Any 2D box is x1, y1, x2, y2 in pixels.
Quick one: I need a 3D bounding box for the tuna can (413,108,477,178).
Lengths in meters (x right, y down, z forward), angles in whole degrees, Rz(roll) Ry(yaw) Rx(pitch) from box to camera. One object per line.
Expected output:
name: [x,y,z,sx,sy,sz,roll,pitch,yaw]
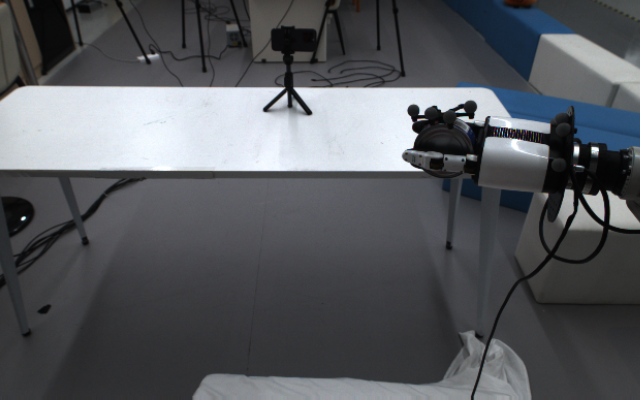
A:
tuna can: [0.182,-0.078,0.704,0.085,0.085,0.034,17,37,20]
